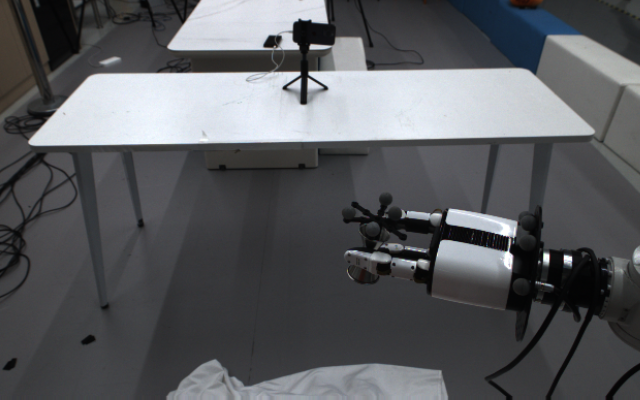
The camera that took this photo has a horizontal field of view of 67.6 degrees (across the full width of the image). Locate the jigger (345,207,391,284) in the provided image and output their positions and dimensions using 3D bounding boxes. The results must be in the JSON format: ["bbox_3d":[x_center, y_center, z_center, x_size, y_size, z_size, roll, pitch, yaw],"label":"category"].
[{"bbox_3d":[0.062,0.068,0.620,0.043,0.071,0.043,9,30,-6],"label":"jigger"}]
